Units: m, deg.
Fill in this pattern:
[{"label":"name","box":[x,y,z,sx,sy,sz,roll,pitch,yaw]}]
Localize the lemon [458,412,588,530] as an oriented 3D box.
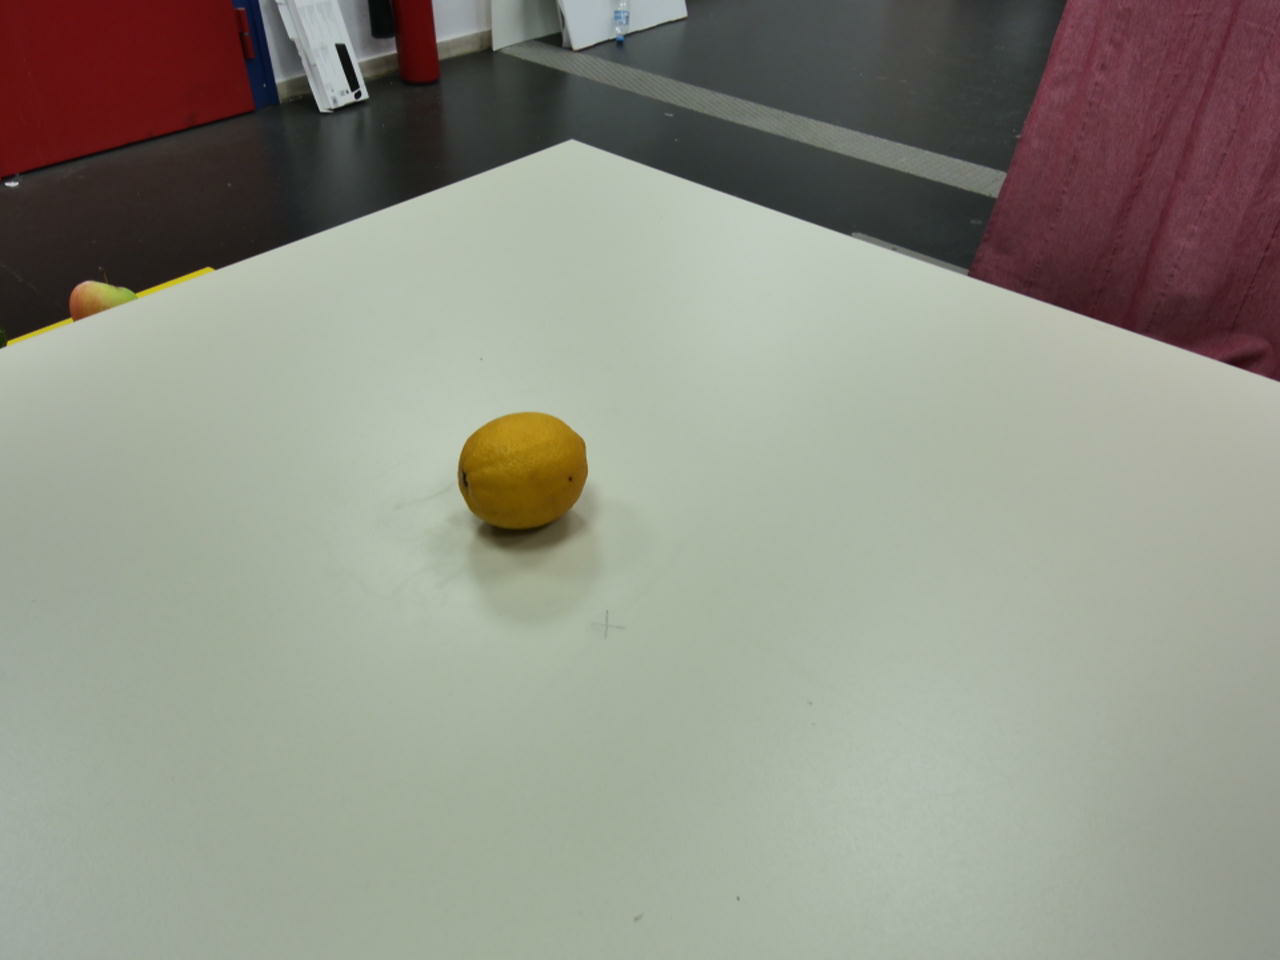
[{"label":"lemon","box":[-0.060,-0.004,0.513,0.067,0.059,0.060,-4,37,-7]}]
